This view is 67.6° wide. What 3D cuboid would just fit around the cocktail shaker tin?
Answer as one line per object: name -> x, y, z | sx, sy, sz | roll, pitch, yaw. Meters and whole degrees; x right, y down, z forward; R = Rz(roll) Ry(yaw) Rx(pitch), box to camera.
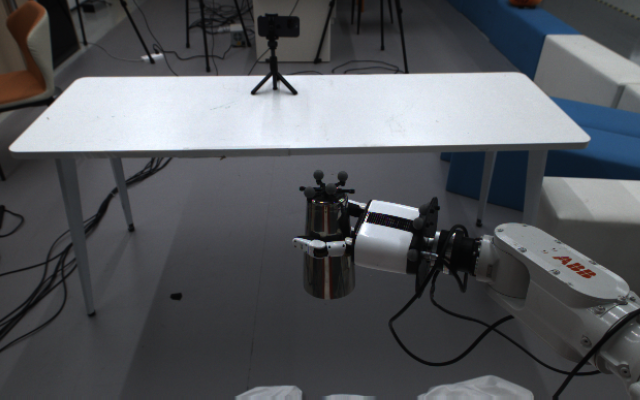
cocktail shaker tin -> 0.015, 0.067, 0.805 | 0.093, 0.170, 0.093 | -2, 26, 1
